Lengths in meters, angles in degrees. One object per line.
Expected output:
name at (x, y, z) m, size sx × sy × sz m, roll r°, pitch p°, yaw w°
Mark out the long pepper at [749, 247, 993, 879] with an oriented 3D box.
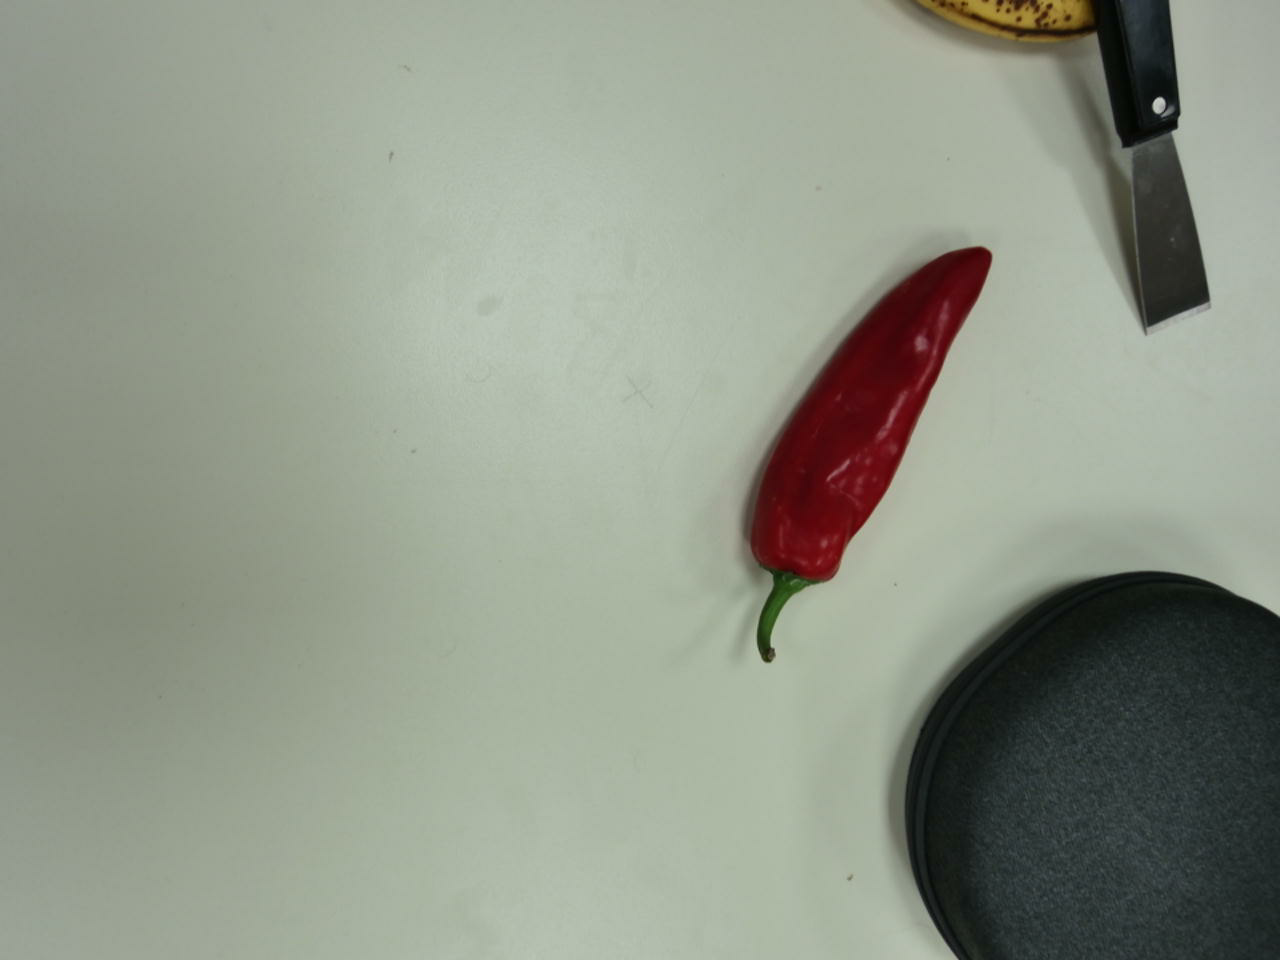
long pepper at (0.094, -0.019, 0.440) m, size 0.050 × 0.043 × 0.211 m, roll 32°, pitch 84°, yaw -10°
